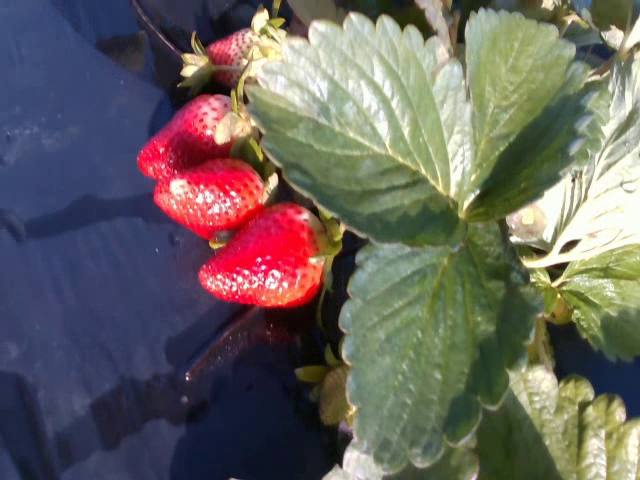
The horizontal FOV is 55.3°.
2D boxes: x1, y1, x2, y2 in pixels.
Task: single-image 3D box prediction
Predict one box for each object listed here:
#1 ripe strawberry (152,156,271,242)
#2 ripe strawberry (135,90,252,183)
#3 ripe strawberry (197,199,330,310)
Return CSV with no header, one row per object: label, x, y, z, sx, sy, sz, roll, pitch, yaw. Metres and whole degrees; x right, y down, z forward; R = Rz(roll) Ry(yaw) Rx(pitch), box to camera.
ripe strawberry,-0.037,-0.016,0.200,0.039,0.031,0.036,7,-34,-42
ripe strawberry,-0.047,-0.036,0.219,0.045,0.032,0.023,-27,-27,-2
ripe strawberry,-0.024,0.008,0.191,0.041,0.035,0.034,-11,-35,-35
